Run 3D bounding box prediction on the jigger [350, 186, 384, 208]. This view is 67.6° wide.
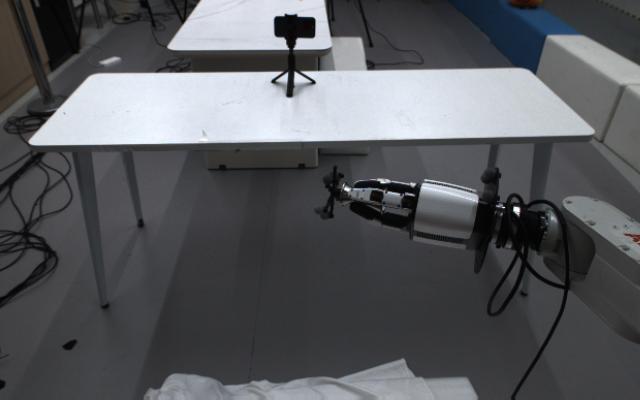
[{"bbox_3d":[0.075,-0.008,0.758,0.071,0.043,0.043,10,35,16],"label":"jigger"}]
